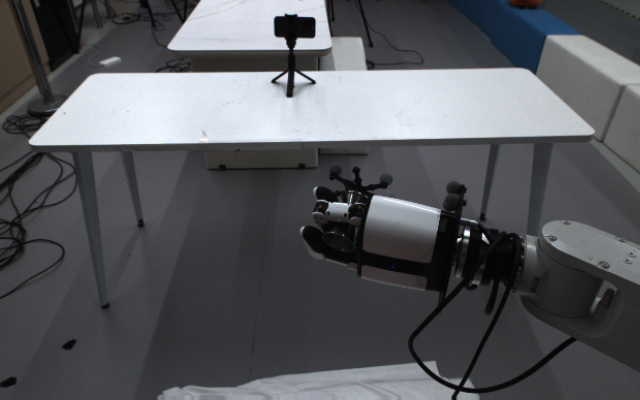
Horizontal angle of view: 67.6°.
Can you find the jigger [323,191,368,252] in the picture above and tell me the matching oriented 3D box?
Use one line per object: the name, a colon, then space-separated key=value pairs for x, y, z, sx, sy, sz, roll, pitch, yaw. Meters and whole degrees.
jigger: x=0.038 y=0.026 z=0.615 sx=0.043 sy=0.043 sz=0.071 roll=13 pitch=58 yaw=16
